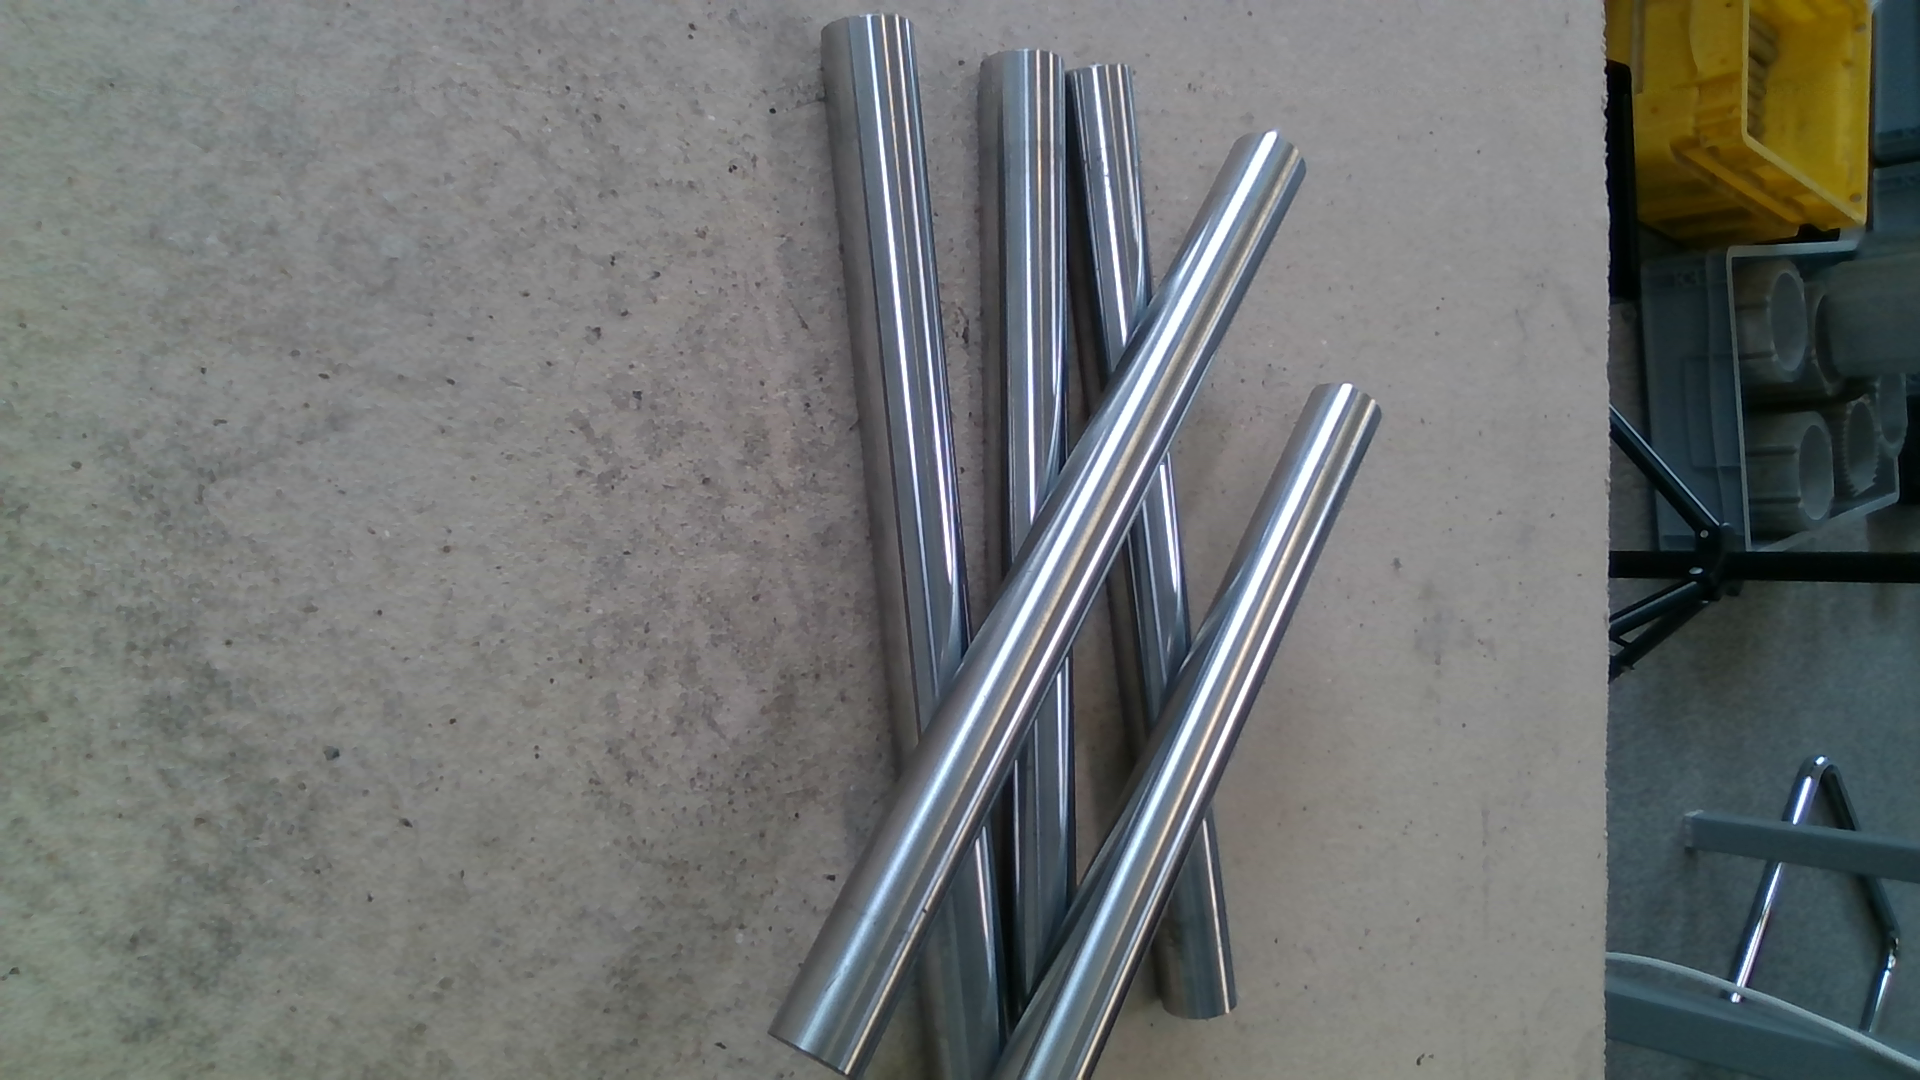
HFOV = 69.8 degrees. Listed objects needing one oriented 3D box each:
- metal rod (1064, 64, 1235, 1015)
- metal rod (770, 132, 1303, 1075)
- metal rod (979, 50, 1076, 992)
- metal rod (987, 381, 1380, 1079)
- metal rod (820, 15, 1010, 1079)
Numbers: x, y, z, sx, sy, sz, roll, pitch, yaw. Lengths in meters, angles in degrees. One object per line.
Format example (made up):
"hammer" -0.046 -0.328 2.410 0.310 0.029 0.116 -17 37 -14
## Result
"metal rod" 0.059 0.004 0.442 0.025 0.025 0.300 -13 98 -39
"metal rod" 0.032 0.001 0.386 0.025 0.025 0.299 43 64 -32
"metal rod" 0.021 0.010 0.409 0.025 0.025 0.300 -2 91 -40
"metal rod" 0.062 0.075 0.412 0.025 0.025 0.299 44 63 -31
"metal rod" -0.010 0.012 0.383 0.025 0.025 0.300 -10 96 -40
